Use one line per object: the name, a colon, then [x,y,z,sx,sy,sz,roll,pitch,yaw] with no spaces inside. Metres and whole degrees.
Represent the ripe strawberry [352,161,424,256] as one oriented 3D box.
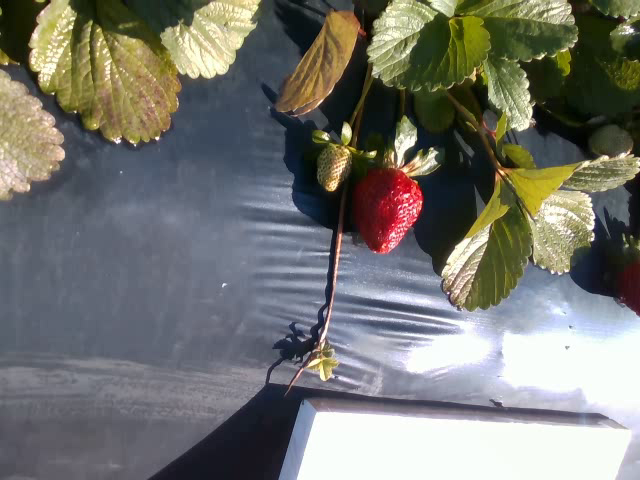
ripe strawberry: [0.033,-0.013,0.309,0.041,0.053,0.043,24,-39,-31]
